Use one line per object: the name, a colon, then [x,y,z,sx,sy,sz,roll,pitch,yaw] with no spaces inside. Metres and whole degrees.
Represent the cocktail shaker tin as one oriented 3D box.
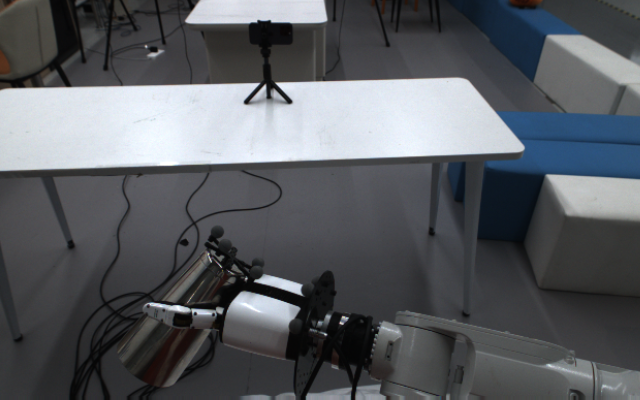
cocktail shaker tin: [-0.174,0.145,0.636,0.170,0.093,0.093,-50,46,4]
